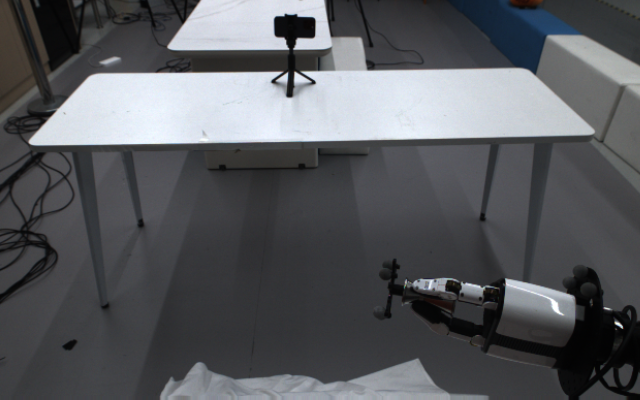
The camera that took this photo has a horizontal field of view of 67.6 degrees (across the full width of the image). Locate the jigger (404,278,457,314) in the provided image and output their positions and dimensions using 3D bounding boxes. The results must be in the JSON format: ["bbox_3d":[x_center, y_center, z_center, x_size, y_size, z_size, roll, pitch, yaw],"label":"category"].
[{"bbox_3d":[0.154,0.125,0.653,0.071,0.043,0.043,8,35,13],"label":"jigger"}]
